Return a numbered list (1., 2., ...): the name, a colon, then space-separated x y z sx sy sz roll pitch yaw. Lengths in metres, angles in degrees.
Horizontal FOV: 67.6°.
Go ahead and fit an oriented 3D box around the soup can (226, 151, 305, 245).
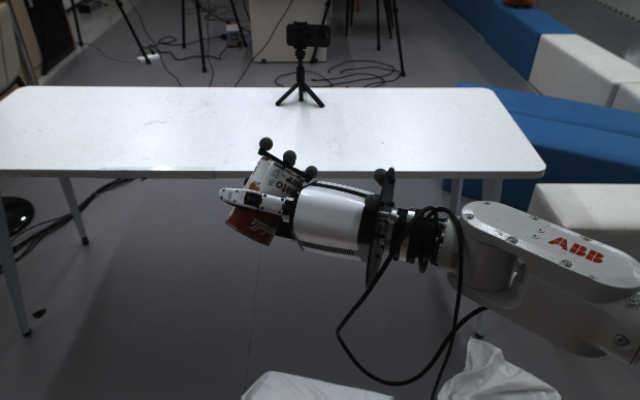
1. soup can: -0.072 0.002 0.646 0.067 0.101 0.067 29 -3 1
